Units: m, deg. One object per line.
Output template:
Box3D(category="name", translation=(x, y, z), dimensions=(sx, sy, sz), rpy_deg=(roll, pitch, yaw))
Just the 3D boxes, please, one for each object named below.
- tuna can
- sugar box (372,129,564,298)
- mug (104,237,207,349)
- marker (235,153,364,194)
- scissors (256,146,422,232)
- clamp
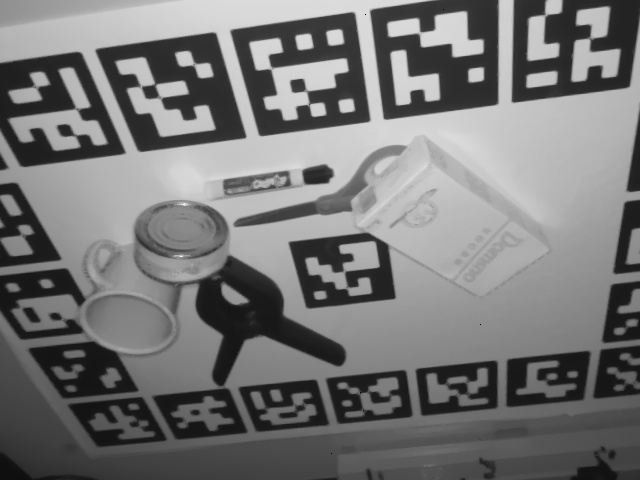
Box3D(category="tuna can", translation=(-0.115, -0.003, 0.650), dimensions=(0.086, 0.086, 0.033), rpy_deg=(7, 128, -4))
Box3D(category="sugar box", translation=(0.142, -0.018, 0.655), dimensions=(0.178, 0.045, 0.091), rpy_deg=(34, 121, -30))
Box3D(category="mug", translation=(-0.165, 0.042, 0.692), dimensions=(0.092, 0.082, 0.117), rpy_deg=(-30, 125, 22))
Box3D(category="marker", translation=(-0.019, -0.062, 0.646), dimensions=(0.121, 0.020, 0.019), rpy_deg=(-10, 126, 7))
Box3D(category="scissors", translation=(0.033, -0.033, 0.665), dimensions=(0.201, 0.016, 0.087), rpy_deg=(-15, 130, 14))
Box3D(category="clamp", translation=(-0.059, 0.084, 0.761), dimensions=(0.164, 0.037, 0.202), rpy_deg=(-15, 125, 13))
